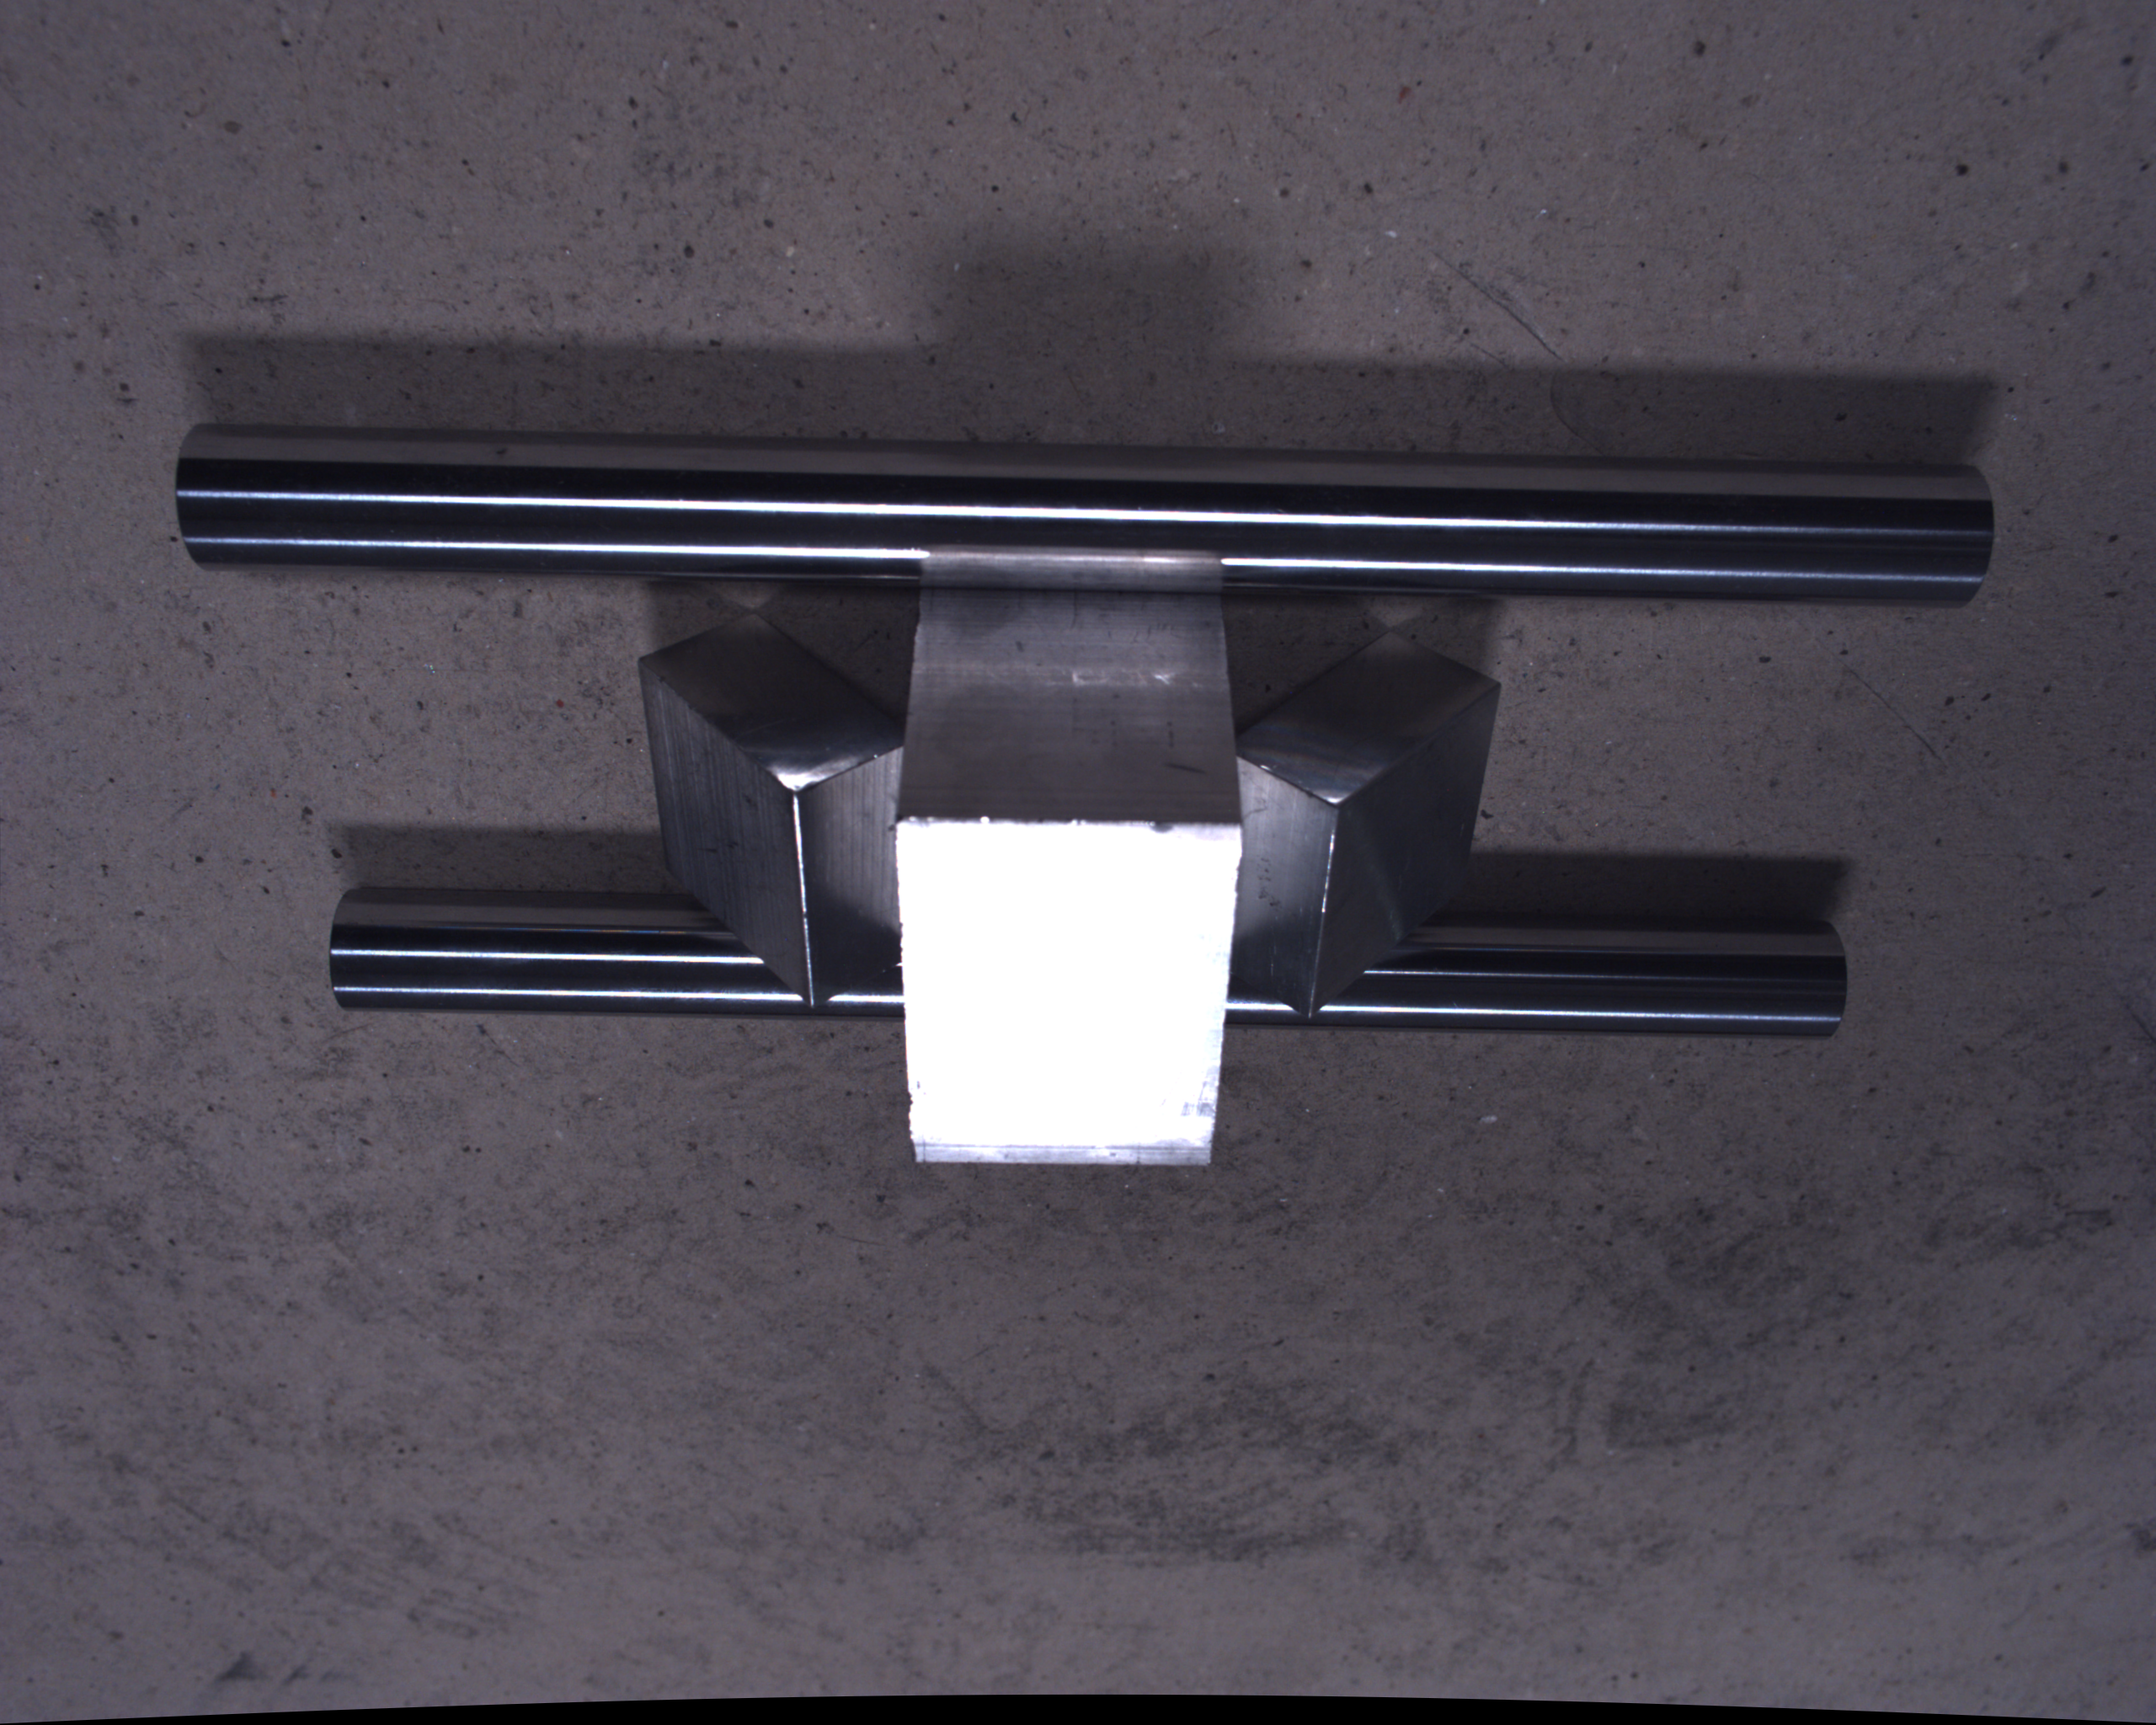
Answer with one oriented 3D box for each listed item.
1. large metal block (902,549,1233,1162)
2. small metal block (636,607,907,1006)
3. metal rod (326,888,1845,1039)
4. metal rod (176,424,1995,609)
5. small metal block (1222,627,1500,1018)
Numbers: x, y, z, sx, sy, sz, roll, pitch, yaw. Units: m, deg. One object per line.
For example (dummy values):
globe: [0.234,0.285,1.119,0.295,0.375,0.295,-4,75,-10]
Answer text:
large metal block: [-0.002,-0.003,0.373,0.050,0.080,0.079,1,130,-1]
small metal block: [-0.054,-0.011,0.381,0.025,0.050,0.050,-28,139,-30]
metal rod: [0.003,0.021,0.427,0.302,0.025,0.025,1,130,-2]
metal rod: [0.003,-0.059,0.358,0.302,0.025,0.025,1,130,-2]
small metal block: [0.050,-0.008,0.385,0.025,0.050,0.050,30,138,30]
